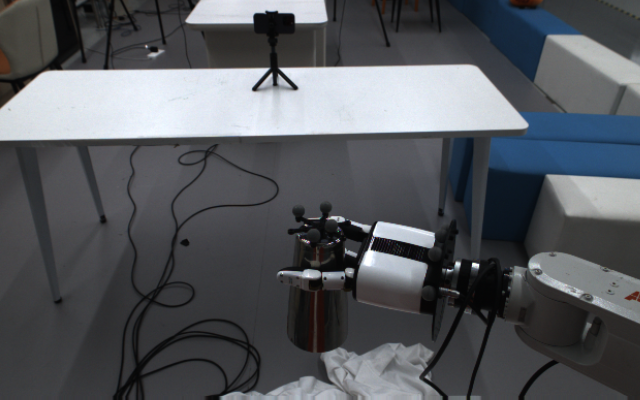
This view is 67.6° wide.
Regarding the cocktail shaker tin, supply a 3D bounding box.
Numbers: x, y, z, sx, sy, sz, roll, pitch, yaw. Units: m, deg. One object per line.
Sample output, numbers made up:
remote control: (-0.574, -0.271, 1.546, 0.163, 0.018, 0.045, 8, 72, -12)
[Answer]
cocktail shaker tin: (0.000, 0.117, 0.690, 0.093, 0.170, 0.093, 1, 26, -1)
